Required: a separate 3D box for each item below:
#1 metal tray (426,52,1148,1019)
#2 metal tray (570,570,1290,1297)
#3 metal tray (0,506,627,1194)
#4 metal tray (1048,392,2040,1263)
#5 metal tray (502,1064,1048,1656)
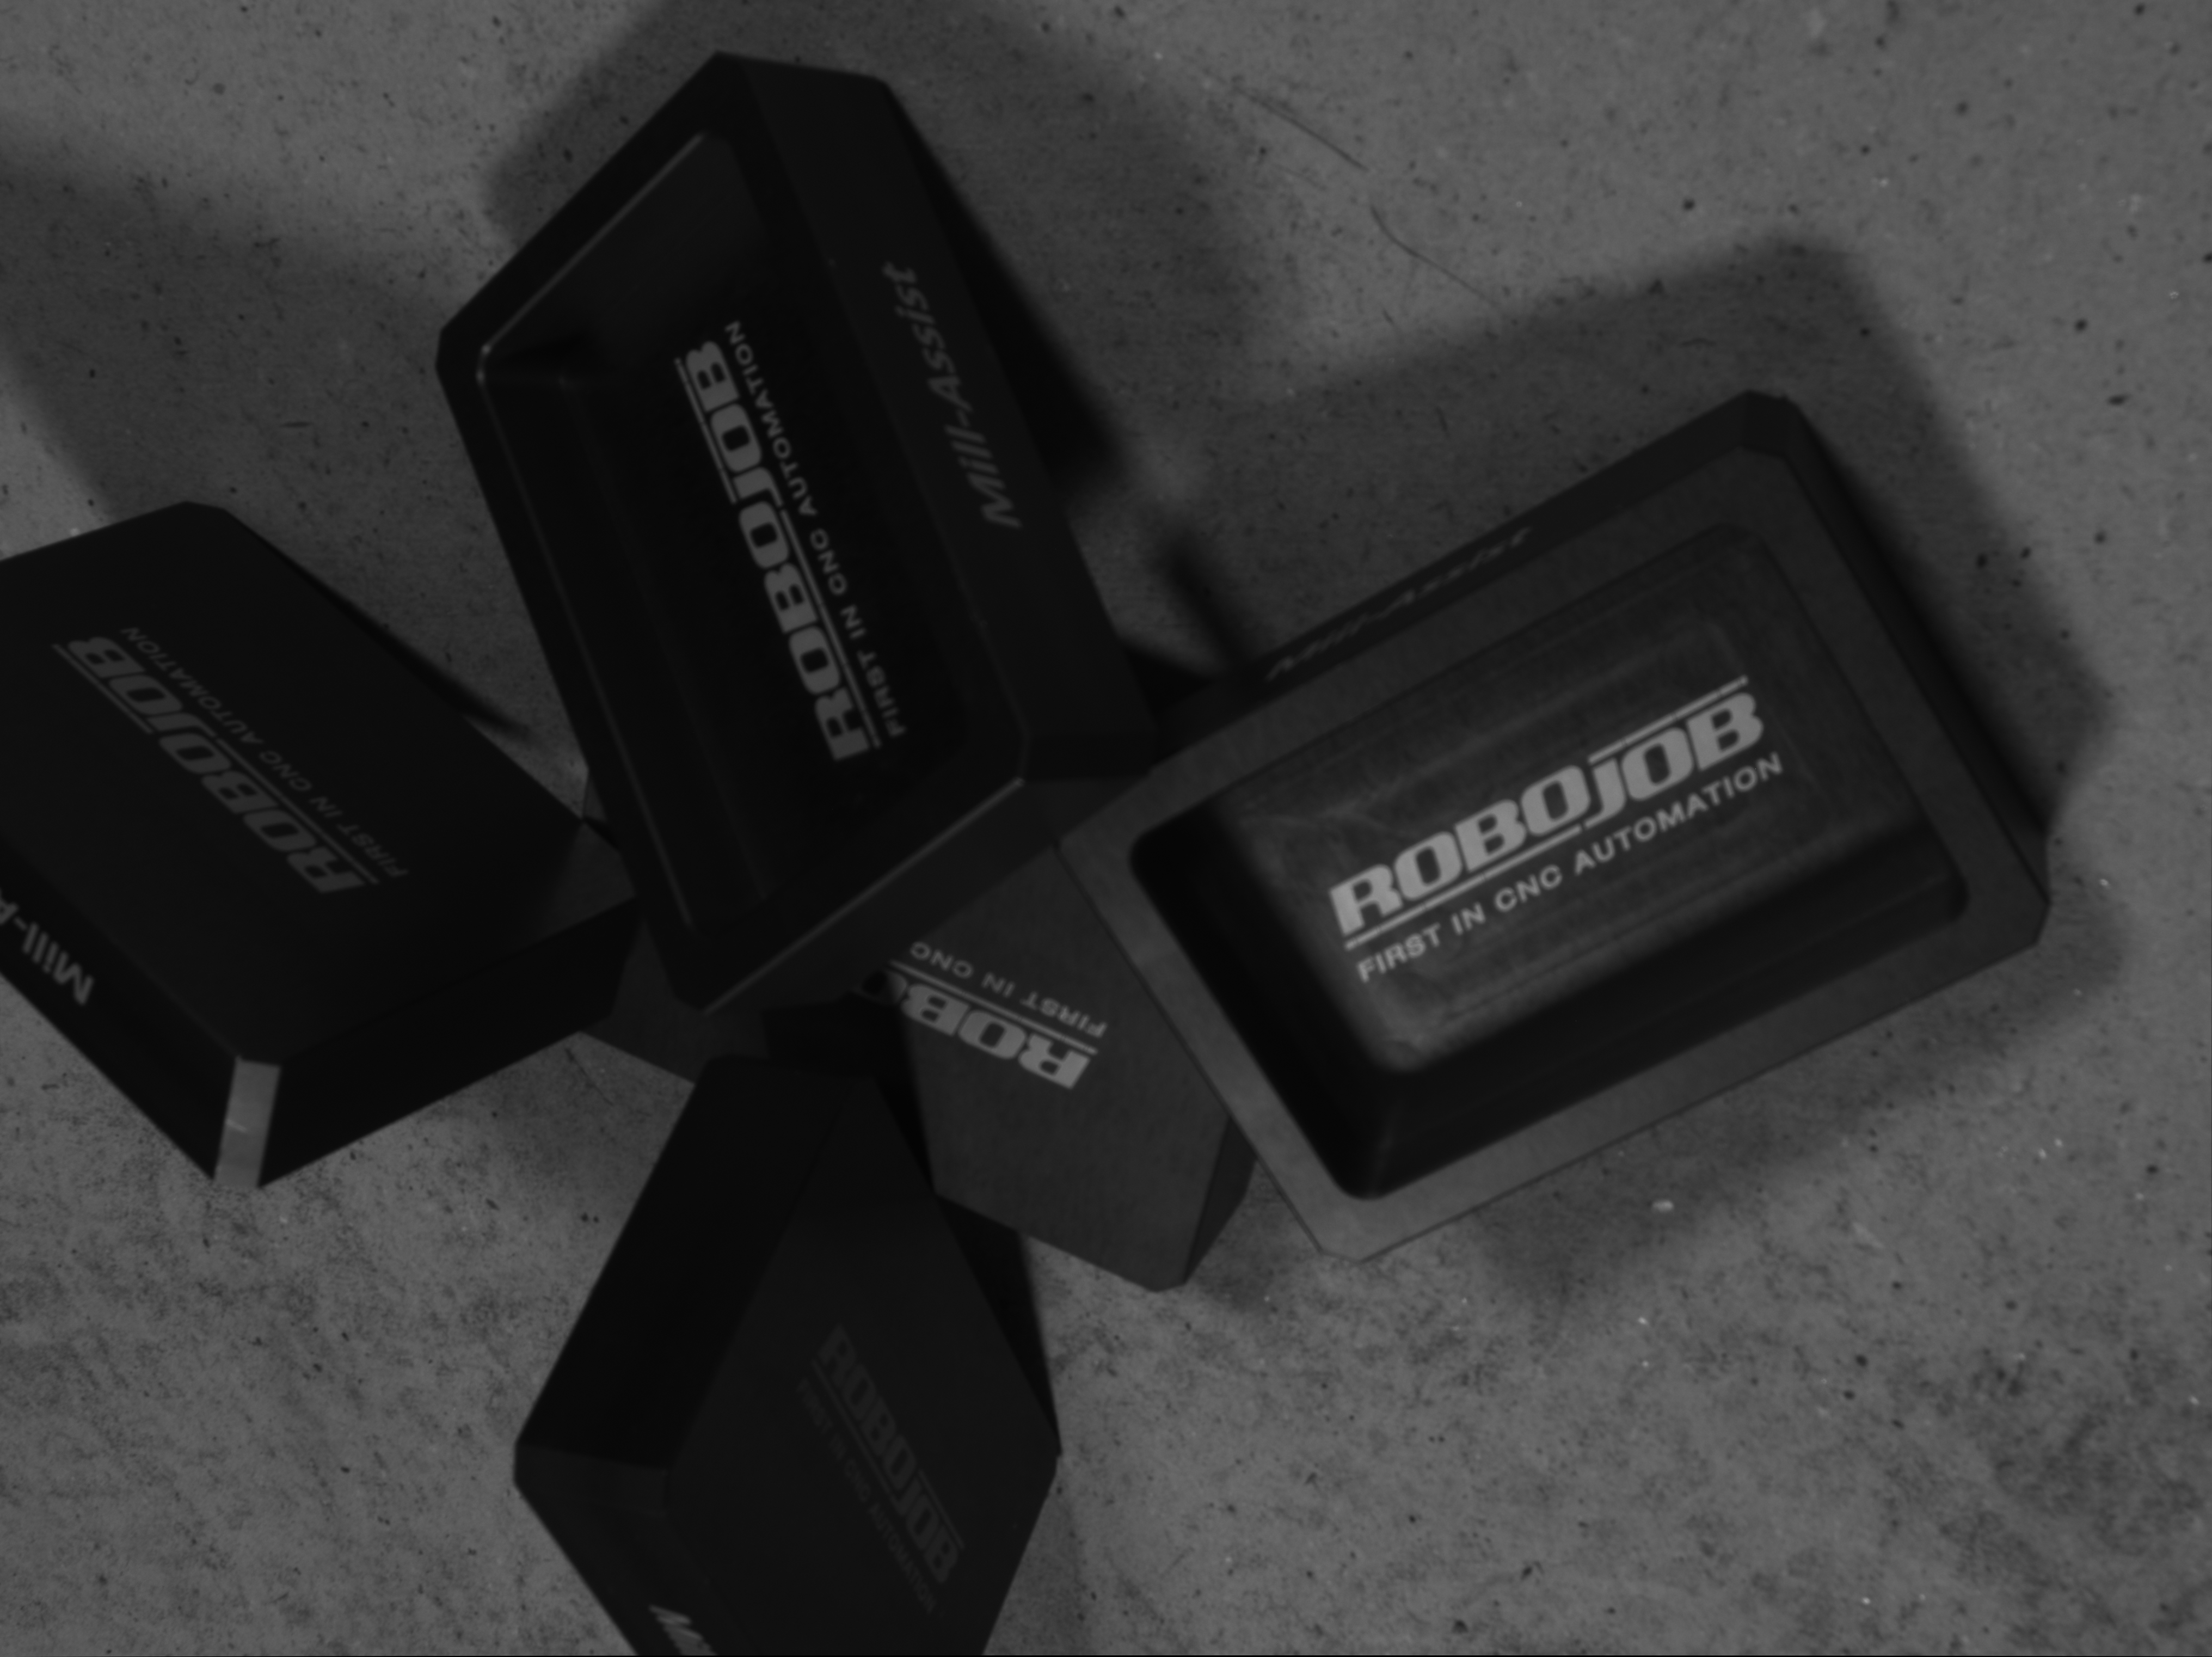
[{"bbox_3d":[-0.055,-0.046,0.590,0.090,0.030,0.130,-36,70,37],"label":"metal tray"},{"bbox_3d":[-0.033,0.019,0.656,0.130,0.030,0.090,23,126,13],"label":"metal tray"},{"bbox_3d":[-0.160,0.000,0.650,0.130,0.090,0.030,39,130,22],"label":"metal tray"},{"bbox_3d":[0.068,0.002,0.575,0.130,0.030,0.090,-28,104,21],"label":"metal tray"},{"bbox_3d":[-0.055,0.116,0.663,0.030,0.090,0.130,6,141,24],"label":"metal tray"}]
